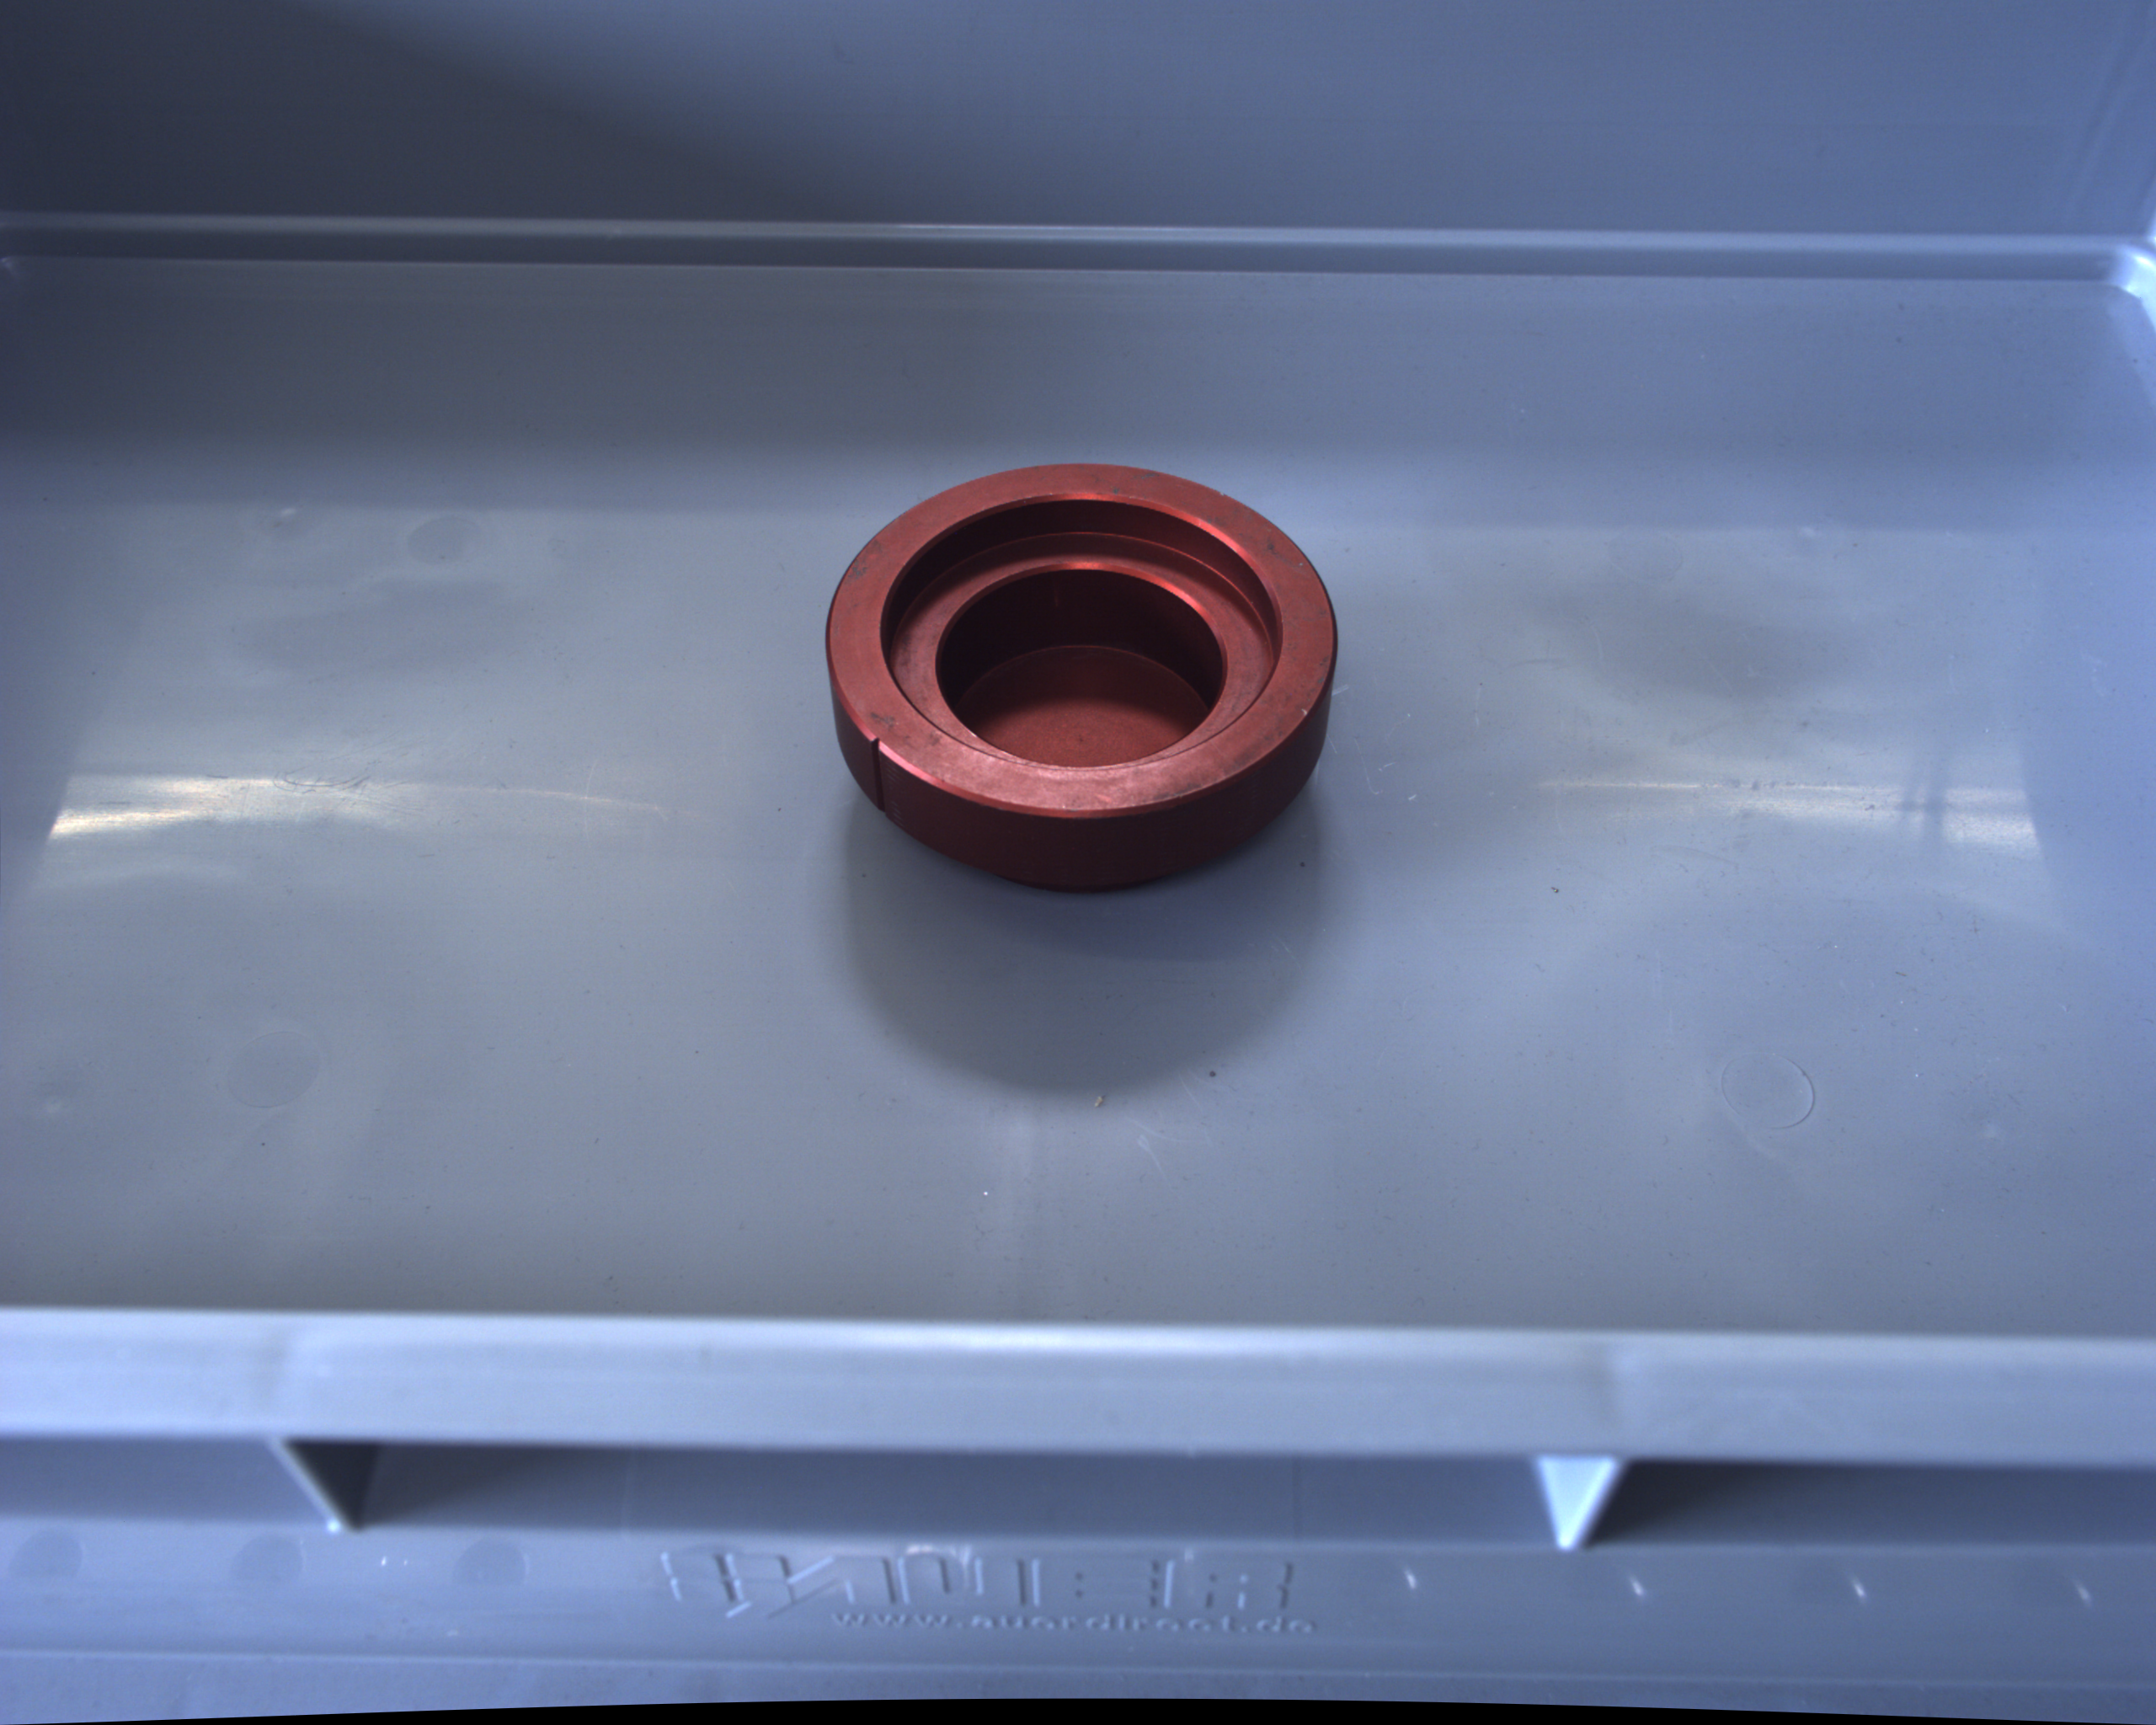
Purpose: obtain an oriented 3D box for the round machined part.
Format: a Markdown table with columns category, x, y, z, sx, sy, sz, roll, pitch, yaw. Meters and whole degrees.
| category | x | y | z | sx | sy | sz | roll | pitch | yaw |
| --- | --- | --- | --- | --- | --- | --- | --- | --- | --- |
| round machined part | 0.001 | -0.033 | 0.418 | 0.099 | 0.042 | 0.098 | 0 | 50 | 0 |
